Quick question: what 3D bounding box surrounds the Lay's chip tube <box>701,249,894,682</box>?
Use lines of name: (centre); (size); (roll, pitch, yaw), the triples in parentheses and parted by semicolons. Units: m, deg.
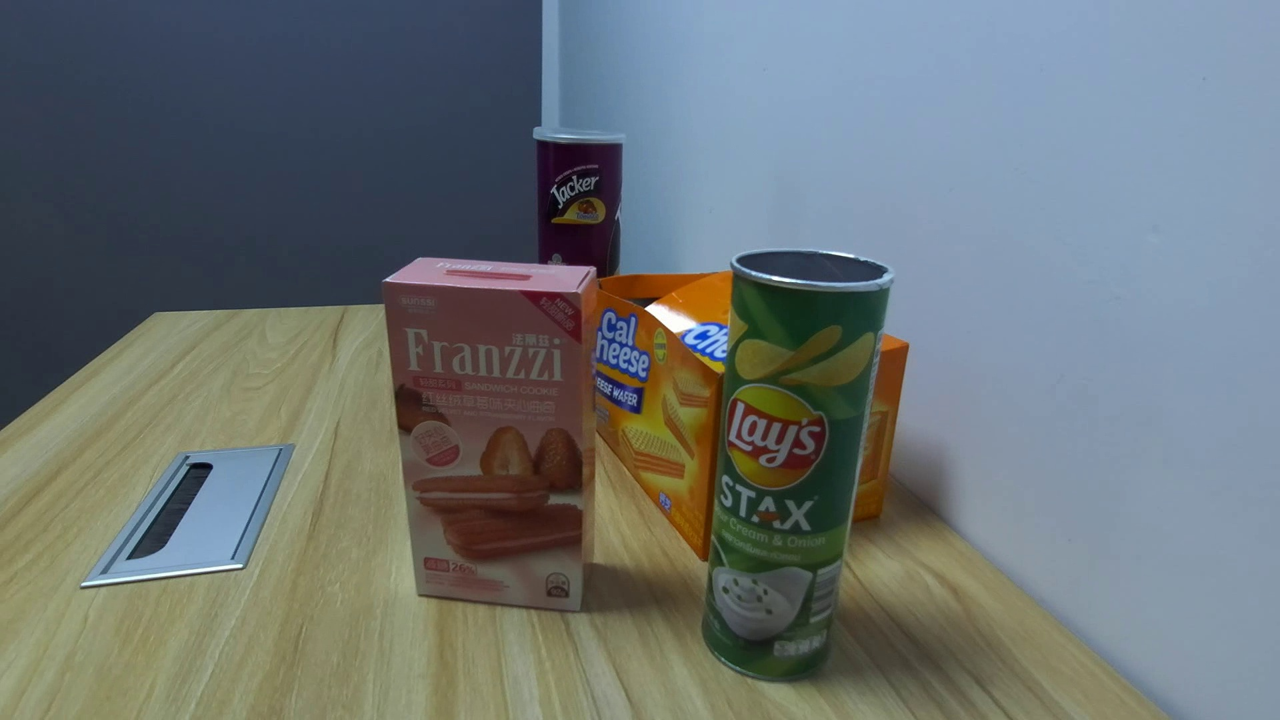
Lay's chip tube: (0.072, 0.053, 0.345); (0.071, 0.202, 0.071); (3, 18, -1)

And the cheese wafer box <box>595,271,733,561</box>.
cheese wafer box: (0.066, 0.022, 0.548); (0.153, 0.132, 0.229); (-9, 25, -24)

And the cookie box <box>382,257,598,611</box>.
cookie box: (-0.074, 0.043, 0.379); (0.096, 0.184, 0.048); (4, 22, 4)

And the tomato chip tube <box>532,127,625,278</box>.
tomato chip tube: (-0.056, -0.087, 0.655); (0.078, 0.234, 0.078); (3, 20, -1)
